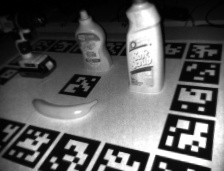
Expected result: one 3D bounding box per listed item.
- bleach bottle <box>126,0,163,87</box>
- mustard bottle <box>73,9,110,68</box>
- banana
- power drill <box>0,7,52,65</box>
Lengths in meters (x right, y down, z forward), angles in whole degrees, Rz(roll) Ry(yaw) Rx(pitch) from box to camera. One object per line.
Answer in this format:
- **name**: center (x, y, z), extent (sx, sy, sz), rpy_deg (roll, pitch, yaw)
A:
- **bleach bottle**: center (0.075, -0.111, 0.549), extent (0.101, 0.253, 0.068), rpy_deg (12, 47, 29)
- **mustard bottle**: center (-0.069, -0.147, 0.684), extent (0.095, 0.193, 0.058), rpy_deg (1, 43, 16)
- **banana**: center (-0.136, 0.042, 0.587), extent (0.195, 0.039, 0.074), rpy_deg (0, 44, 21)
- **power drill**: center (-0.264, -0.157, 0.704), extent (0.183, 0.189, 0.057), rpy_deg (-2, 42, 21)
